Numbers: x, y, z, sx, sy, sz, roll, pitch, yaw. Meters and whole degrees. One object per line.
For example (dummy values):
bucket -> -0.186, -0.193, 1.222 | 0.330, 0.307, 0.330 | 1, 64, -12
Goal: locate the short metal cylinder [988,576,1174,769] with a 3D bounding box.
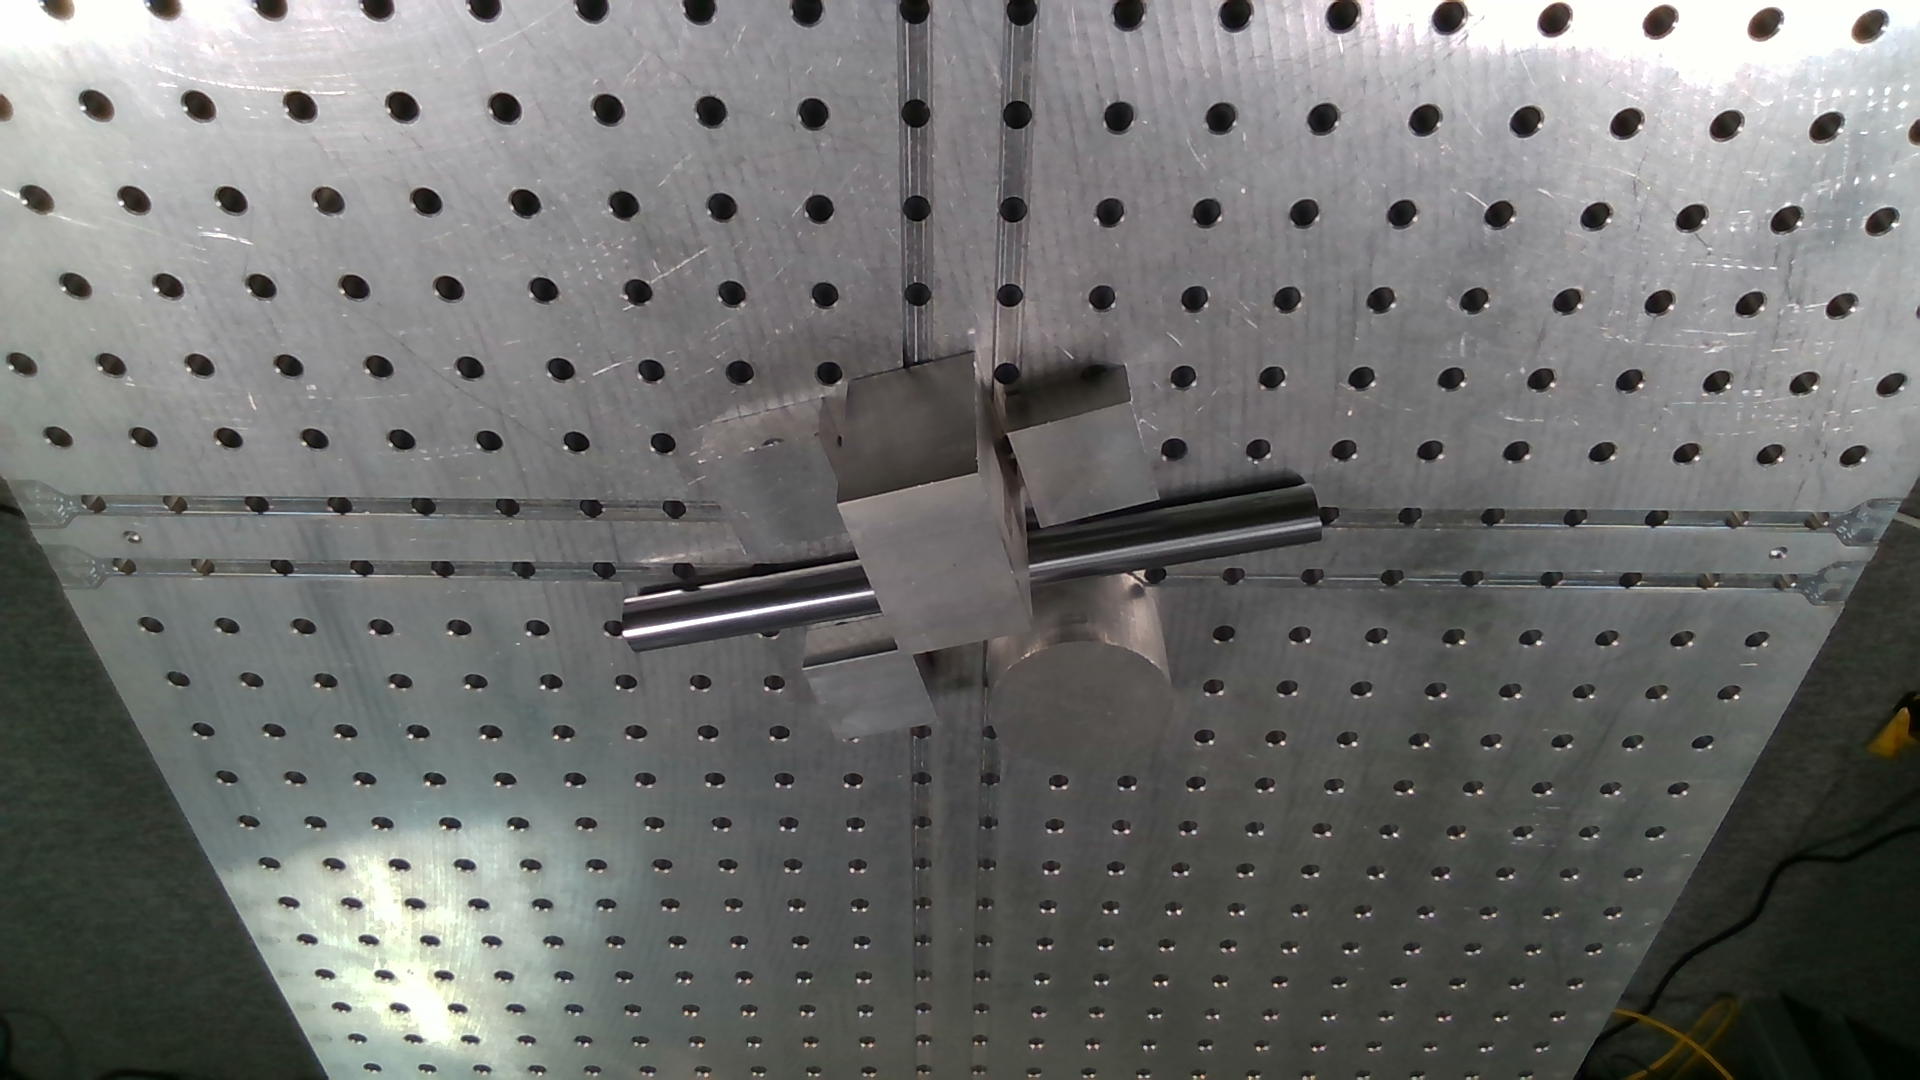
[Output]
short metal cylinder -> 0.052, 0.056, 0.613 | 0.080, 0.050, 0.080 | 0, 130, 0

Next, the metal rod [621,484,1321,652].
metal rod -> 0.001, 0.013, 0.593 | 0.300, 0.025, 0.025 | -10, 129, 8

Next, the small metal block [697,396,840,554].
small metal block -> -0.072, -0.026, 0.560 | 0.050, 0.025, 0.050 | -12, 129, 10

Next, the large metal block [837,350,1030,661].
large metal block -> -0.008, -0.014, 0.533 | 0.050, 0.080, 0.080 | -12, 129, 10

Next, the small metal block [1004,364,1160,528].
small metal block -> 0.049, -0.037, 0.551 | 0.050, 0.025, 0.050 | -14, 129, 11

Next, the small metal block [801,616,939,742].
small metal block -> -0.040, 0.063, 0.635 | 0.050, 0.025, 0.050 | -11, 129, 9
